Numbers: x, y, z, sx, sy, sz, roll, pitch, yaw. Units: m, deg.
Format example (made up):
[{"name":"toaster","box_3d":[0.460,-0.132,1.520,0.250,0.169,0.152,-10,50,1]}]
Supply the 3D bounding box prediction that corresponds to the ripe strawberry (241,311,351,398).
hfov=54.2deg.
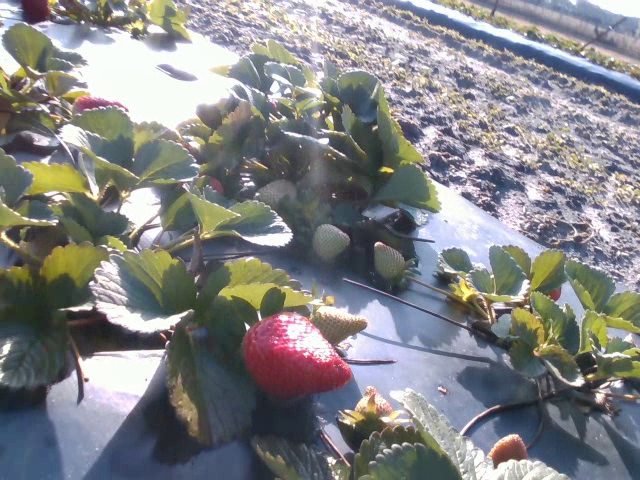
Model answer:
[{"name":"ripe strawberry","box_3d":[-0.009,0.060,0.312,0.072,0.057,0.055,13,-28,42]}]
